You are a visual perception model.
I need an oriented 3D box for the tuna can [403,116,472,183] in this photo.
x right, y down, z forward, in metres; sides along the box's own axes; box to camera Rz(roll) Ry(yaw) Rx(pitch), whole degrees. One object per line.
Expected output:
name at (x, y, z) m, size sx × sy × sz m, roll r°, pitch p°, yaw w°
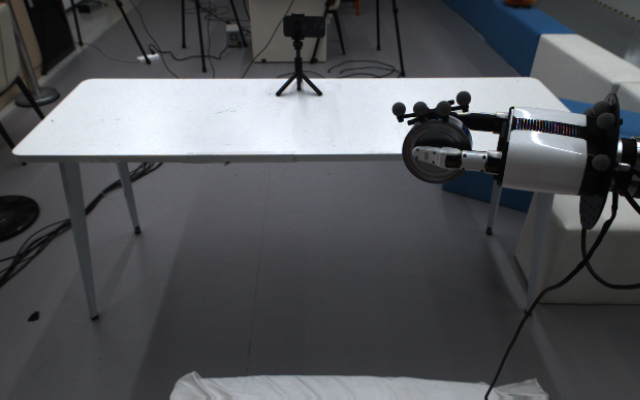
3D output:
tuna can at (0.152, -0.067, 0.622) m, size 0.085 × 0.085 × 0.034 m, roll 13°, pitch 28°, yaw 15°
